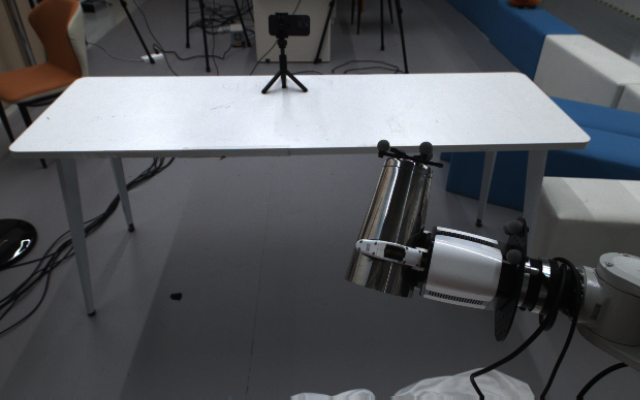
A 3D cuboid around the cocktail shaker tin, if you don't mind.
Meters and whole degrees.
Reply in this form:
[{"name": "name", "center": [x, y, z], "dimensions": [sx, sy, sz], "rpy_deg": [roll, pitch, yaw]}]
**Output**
[{"name": "cocktail shaker tin", "center": [0.099, 0.035, 0.648], "dimensions": [0.093, 0.170, 0.093], "rpy_deg": [15, -4, 1]}]
